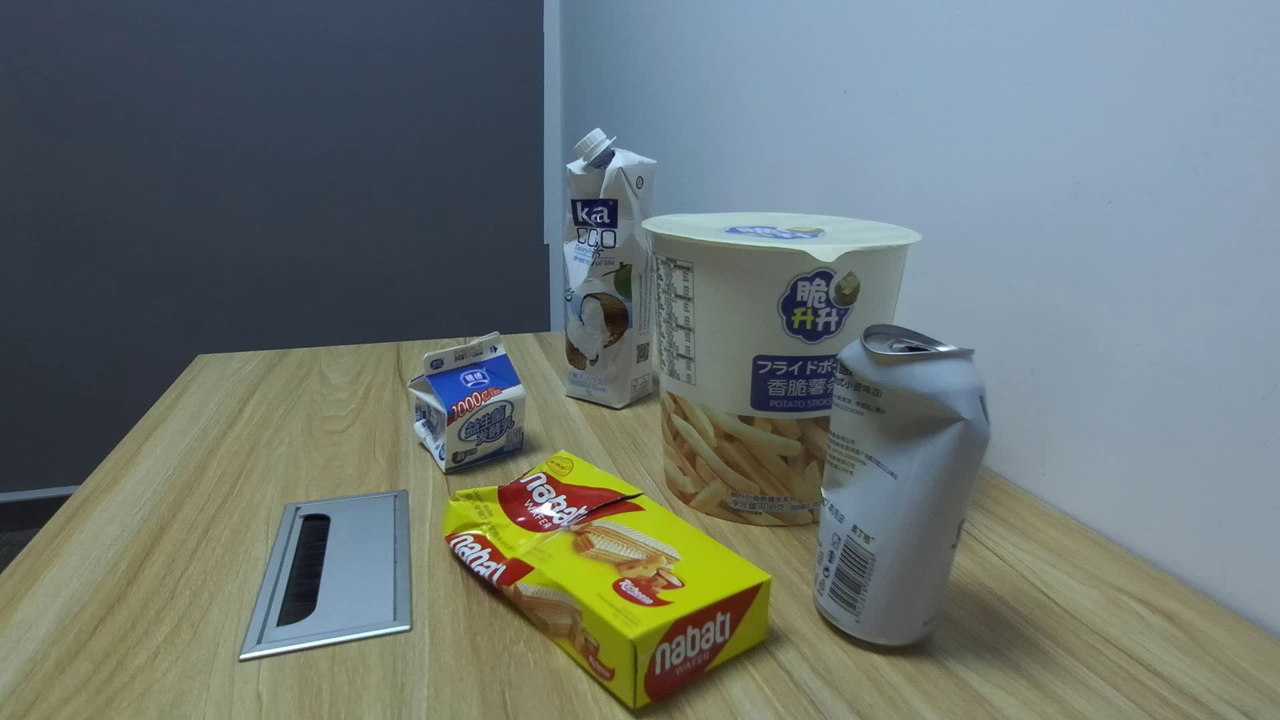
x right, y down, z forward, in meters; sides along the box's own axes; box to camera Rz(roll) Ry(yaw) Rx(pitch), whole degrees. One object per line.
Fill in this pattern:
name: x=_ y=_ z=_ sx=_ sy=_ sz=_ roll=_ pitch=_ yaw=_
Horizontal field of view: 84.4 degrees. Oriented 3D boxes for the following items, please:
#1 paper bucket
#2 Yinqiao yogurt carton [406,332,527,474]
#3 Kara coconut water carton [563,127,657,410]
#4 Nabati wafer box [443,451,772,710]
paper bucket: x=0.094 y=-0.001 z=0.518 sx=0.198 sy=0.194 sz=0.198 roll=1 pitch=18 yaw=0
Yinqiao yogurt carton: x=-0.144 y=0.028 z=0.572 sx=0.075 sy=0.097 sz=0.080 roll=-16 pitch=32 yaw=-41
Kara coconut water carton: x=-0.029 y=-0.085 z=0.669 sx=0.079 sy=0.255 sz=0.083 roll=-16 pitch=24 yaw=-38
Nabati wafer box: x=-0.034 y=0.112 z=0.412 sx=0.107 sy=0.042 sz=0.203 roll=-11 pitch=21 yaw=-37
